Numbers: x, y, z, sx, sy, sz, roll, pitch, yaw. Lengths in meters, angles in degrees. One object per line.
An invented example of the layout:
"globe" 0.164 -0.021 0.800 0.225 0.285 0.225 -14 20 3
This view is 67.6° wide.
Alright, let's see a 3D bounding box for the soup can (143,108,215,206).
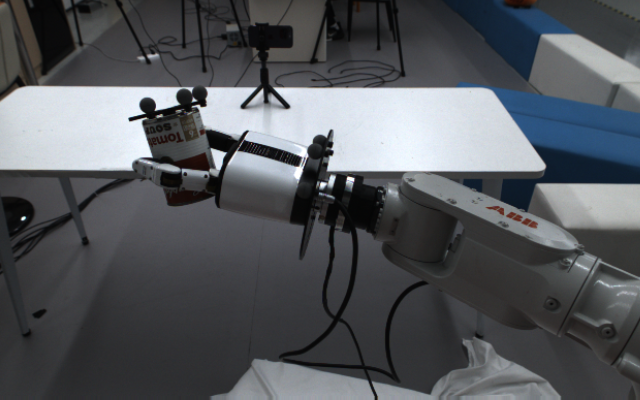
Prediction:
"soup can" -0.160 -0.050 0.573 0.067 0.101 0.067 -12 17 4
